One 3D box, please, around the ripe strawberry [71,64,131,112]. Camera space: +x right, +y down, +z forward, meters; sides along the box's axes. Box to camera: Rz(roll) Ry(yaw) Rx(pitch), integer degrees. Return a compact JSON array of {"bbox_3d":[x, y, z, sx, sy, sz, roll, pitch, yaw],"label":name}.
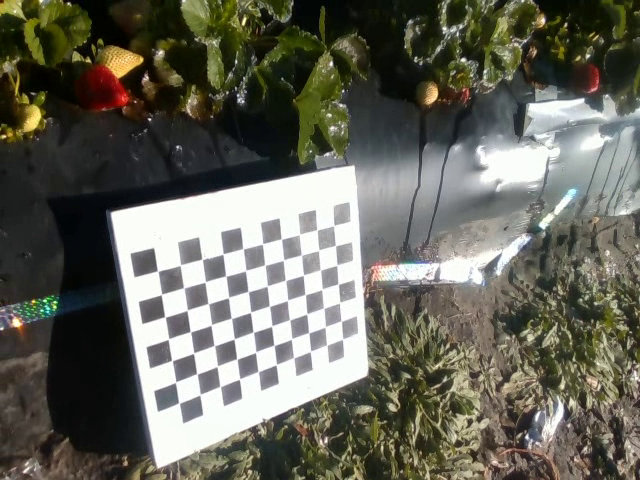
[{"bbox_3d":[-0.174,-0.118,0.522,0.053,0.040,0.042,27,-22,27],"label":"ripe strawberry"}]
